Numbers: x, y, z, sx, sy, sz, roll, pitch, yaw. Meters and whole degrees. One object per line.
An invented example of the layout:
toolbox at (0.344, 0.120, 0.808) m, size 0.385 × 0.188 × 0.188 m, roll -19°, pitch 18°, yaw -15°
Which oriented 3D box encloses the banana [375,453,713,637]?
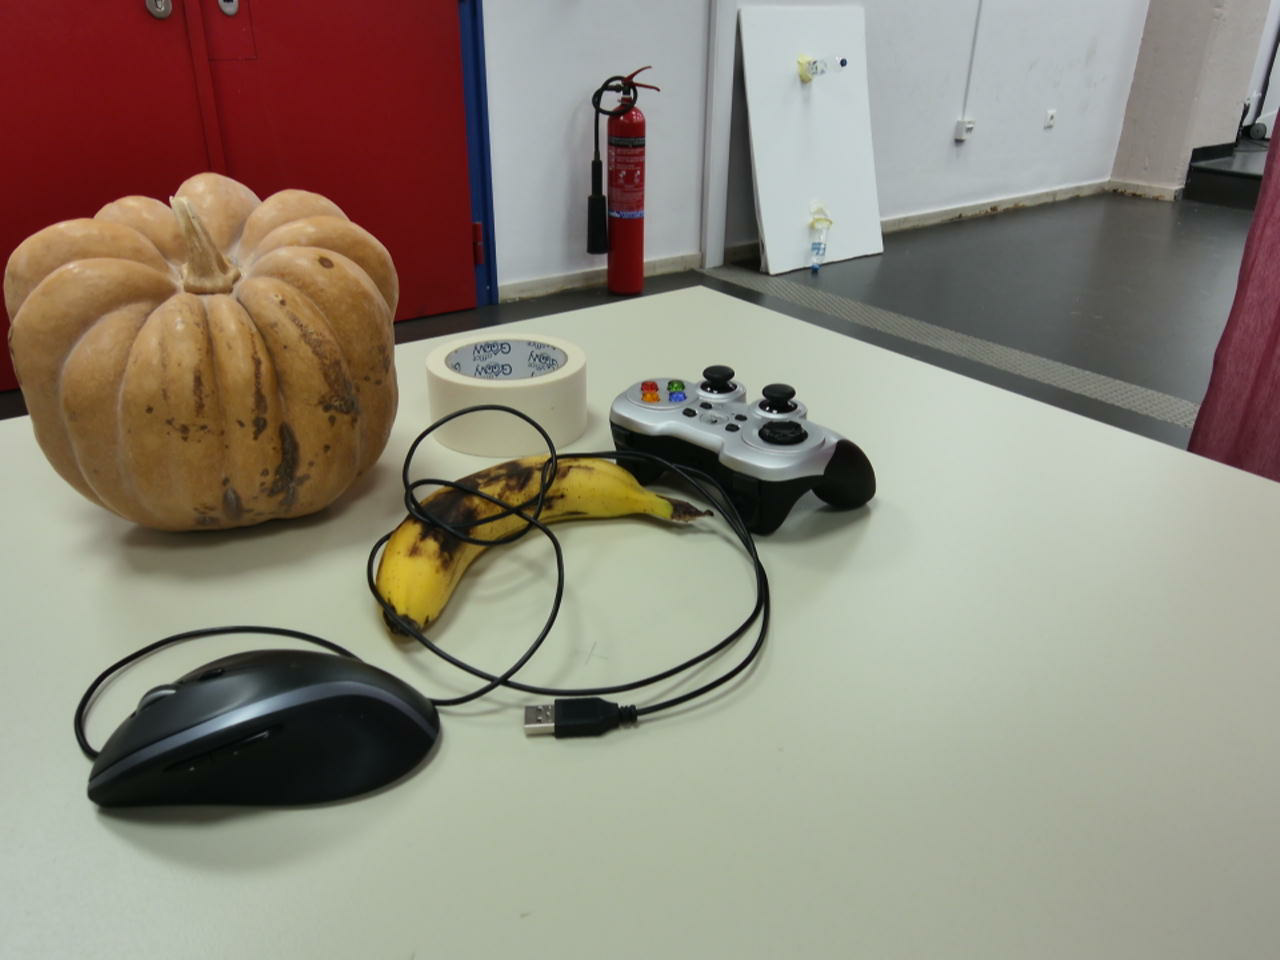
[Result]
banana at (-0.063, 0.022, 0.518) m, size 0.187 × 0.039 × 0.094 m, roll -18°, pitch 31°, yaw -35°
